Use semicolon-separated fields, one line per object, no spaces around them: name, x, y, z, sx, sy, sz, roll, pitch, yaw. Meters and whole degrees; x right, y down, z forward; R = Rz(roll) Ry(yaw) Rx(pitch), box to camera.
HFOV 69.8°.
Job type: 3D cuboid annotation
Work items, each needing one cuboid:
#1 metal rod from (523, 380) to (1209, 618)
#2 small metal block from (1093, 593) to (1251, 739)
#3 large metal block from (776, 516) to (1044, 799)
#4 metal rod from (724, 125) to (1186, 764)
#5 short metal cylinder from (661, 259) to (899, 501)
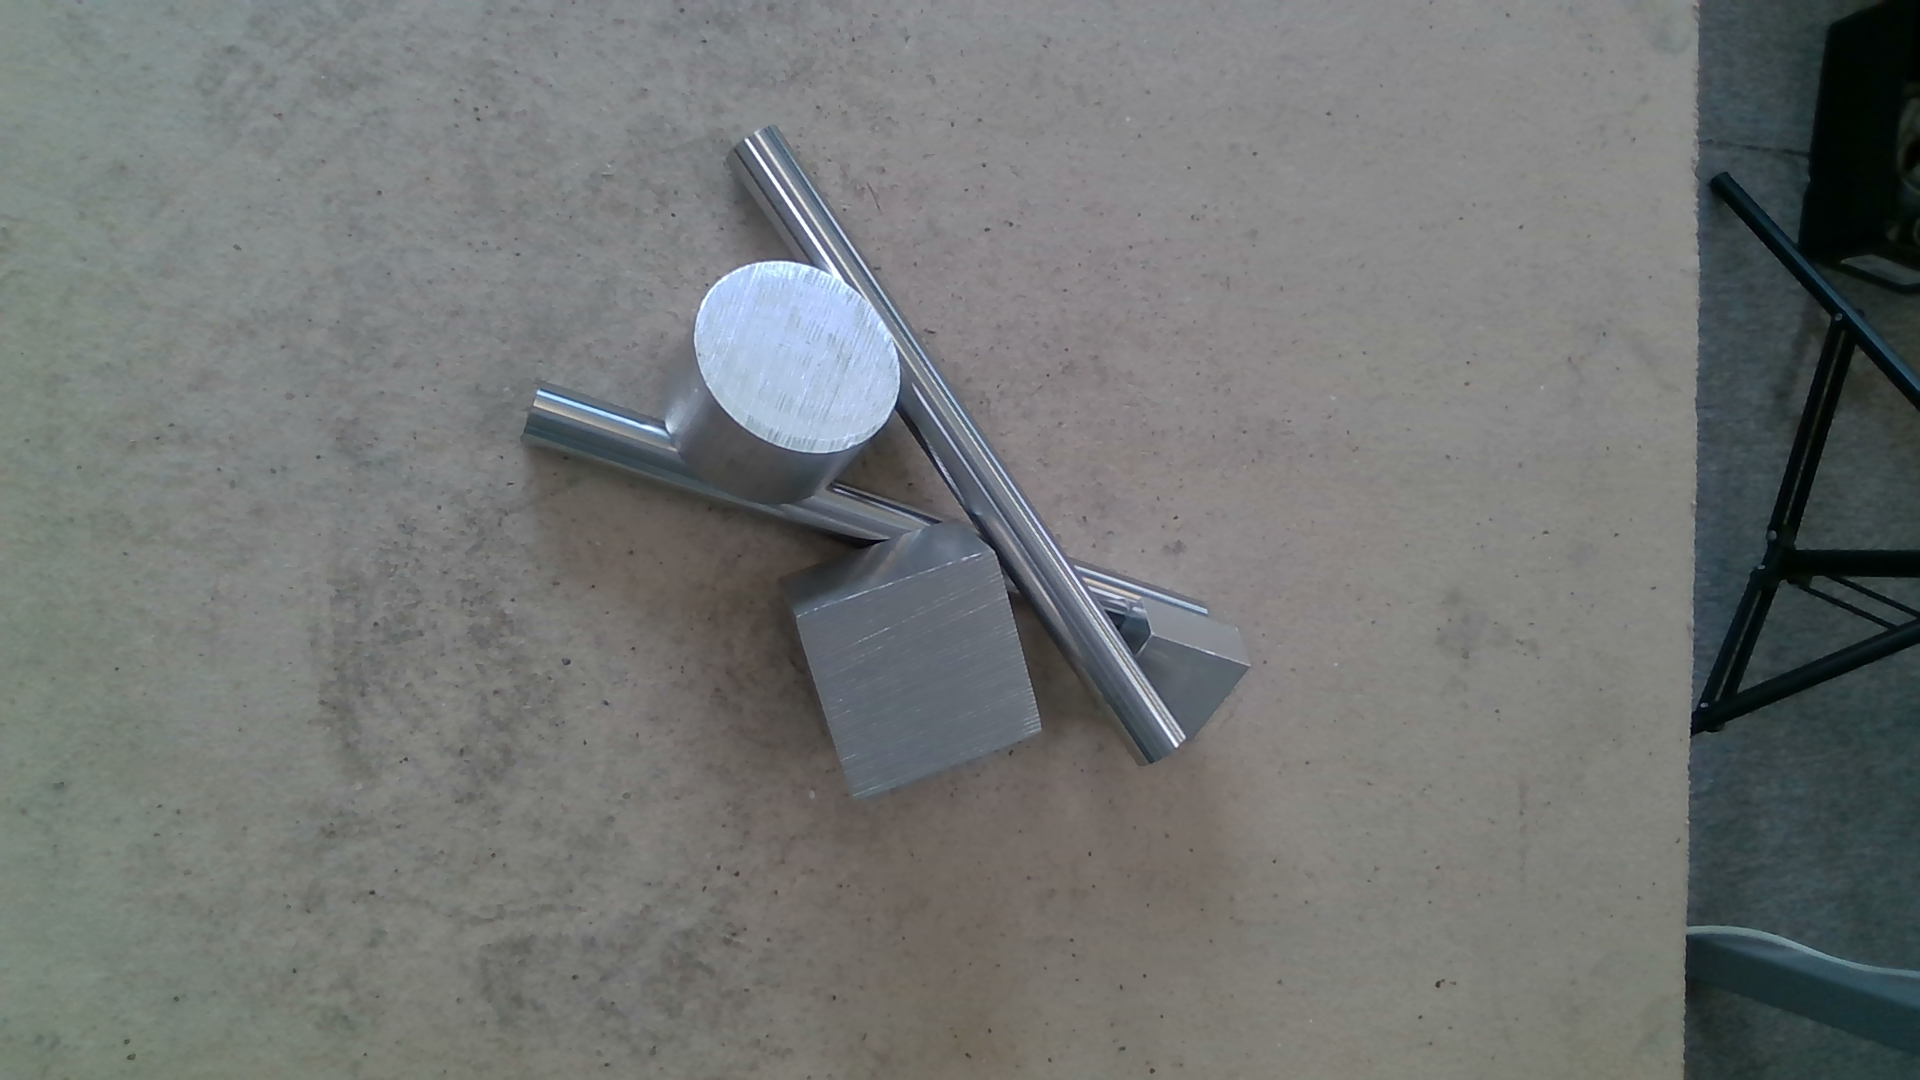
metal rod;-0.028;-0.005;0.575;0.300;0.025;0.025;18;84;-19
small metal block;0.091;0.056;0.607;0.050;0.025;0.050;18;124;-20
large metal block;-0.020;0.045;0.550;0.080;0.050;0.080;-18;109;-10
metal rod;0.000;-0.036;0.568;0.025;0.025;0.300;-36;95;-17
short metal cylinder;-0.070;-0.061;0.533;0.080;0.050;0.080;10;65;-23
